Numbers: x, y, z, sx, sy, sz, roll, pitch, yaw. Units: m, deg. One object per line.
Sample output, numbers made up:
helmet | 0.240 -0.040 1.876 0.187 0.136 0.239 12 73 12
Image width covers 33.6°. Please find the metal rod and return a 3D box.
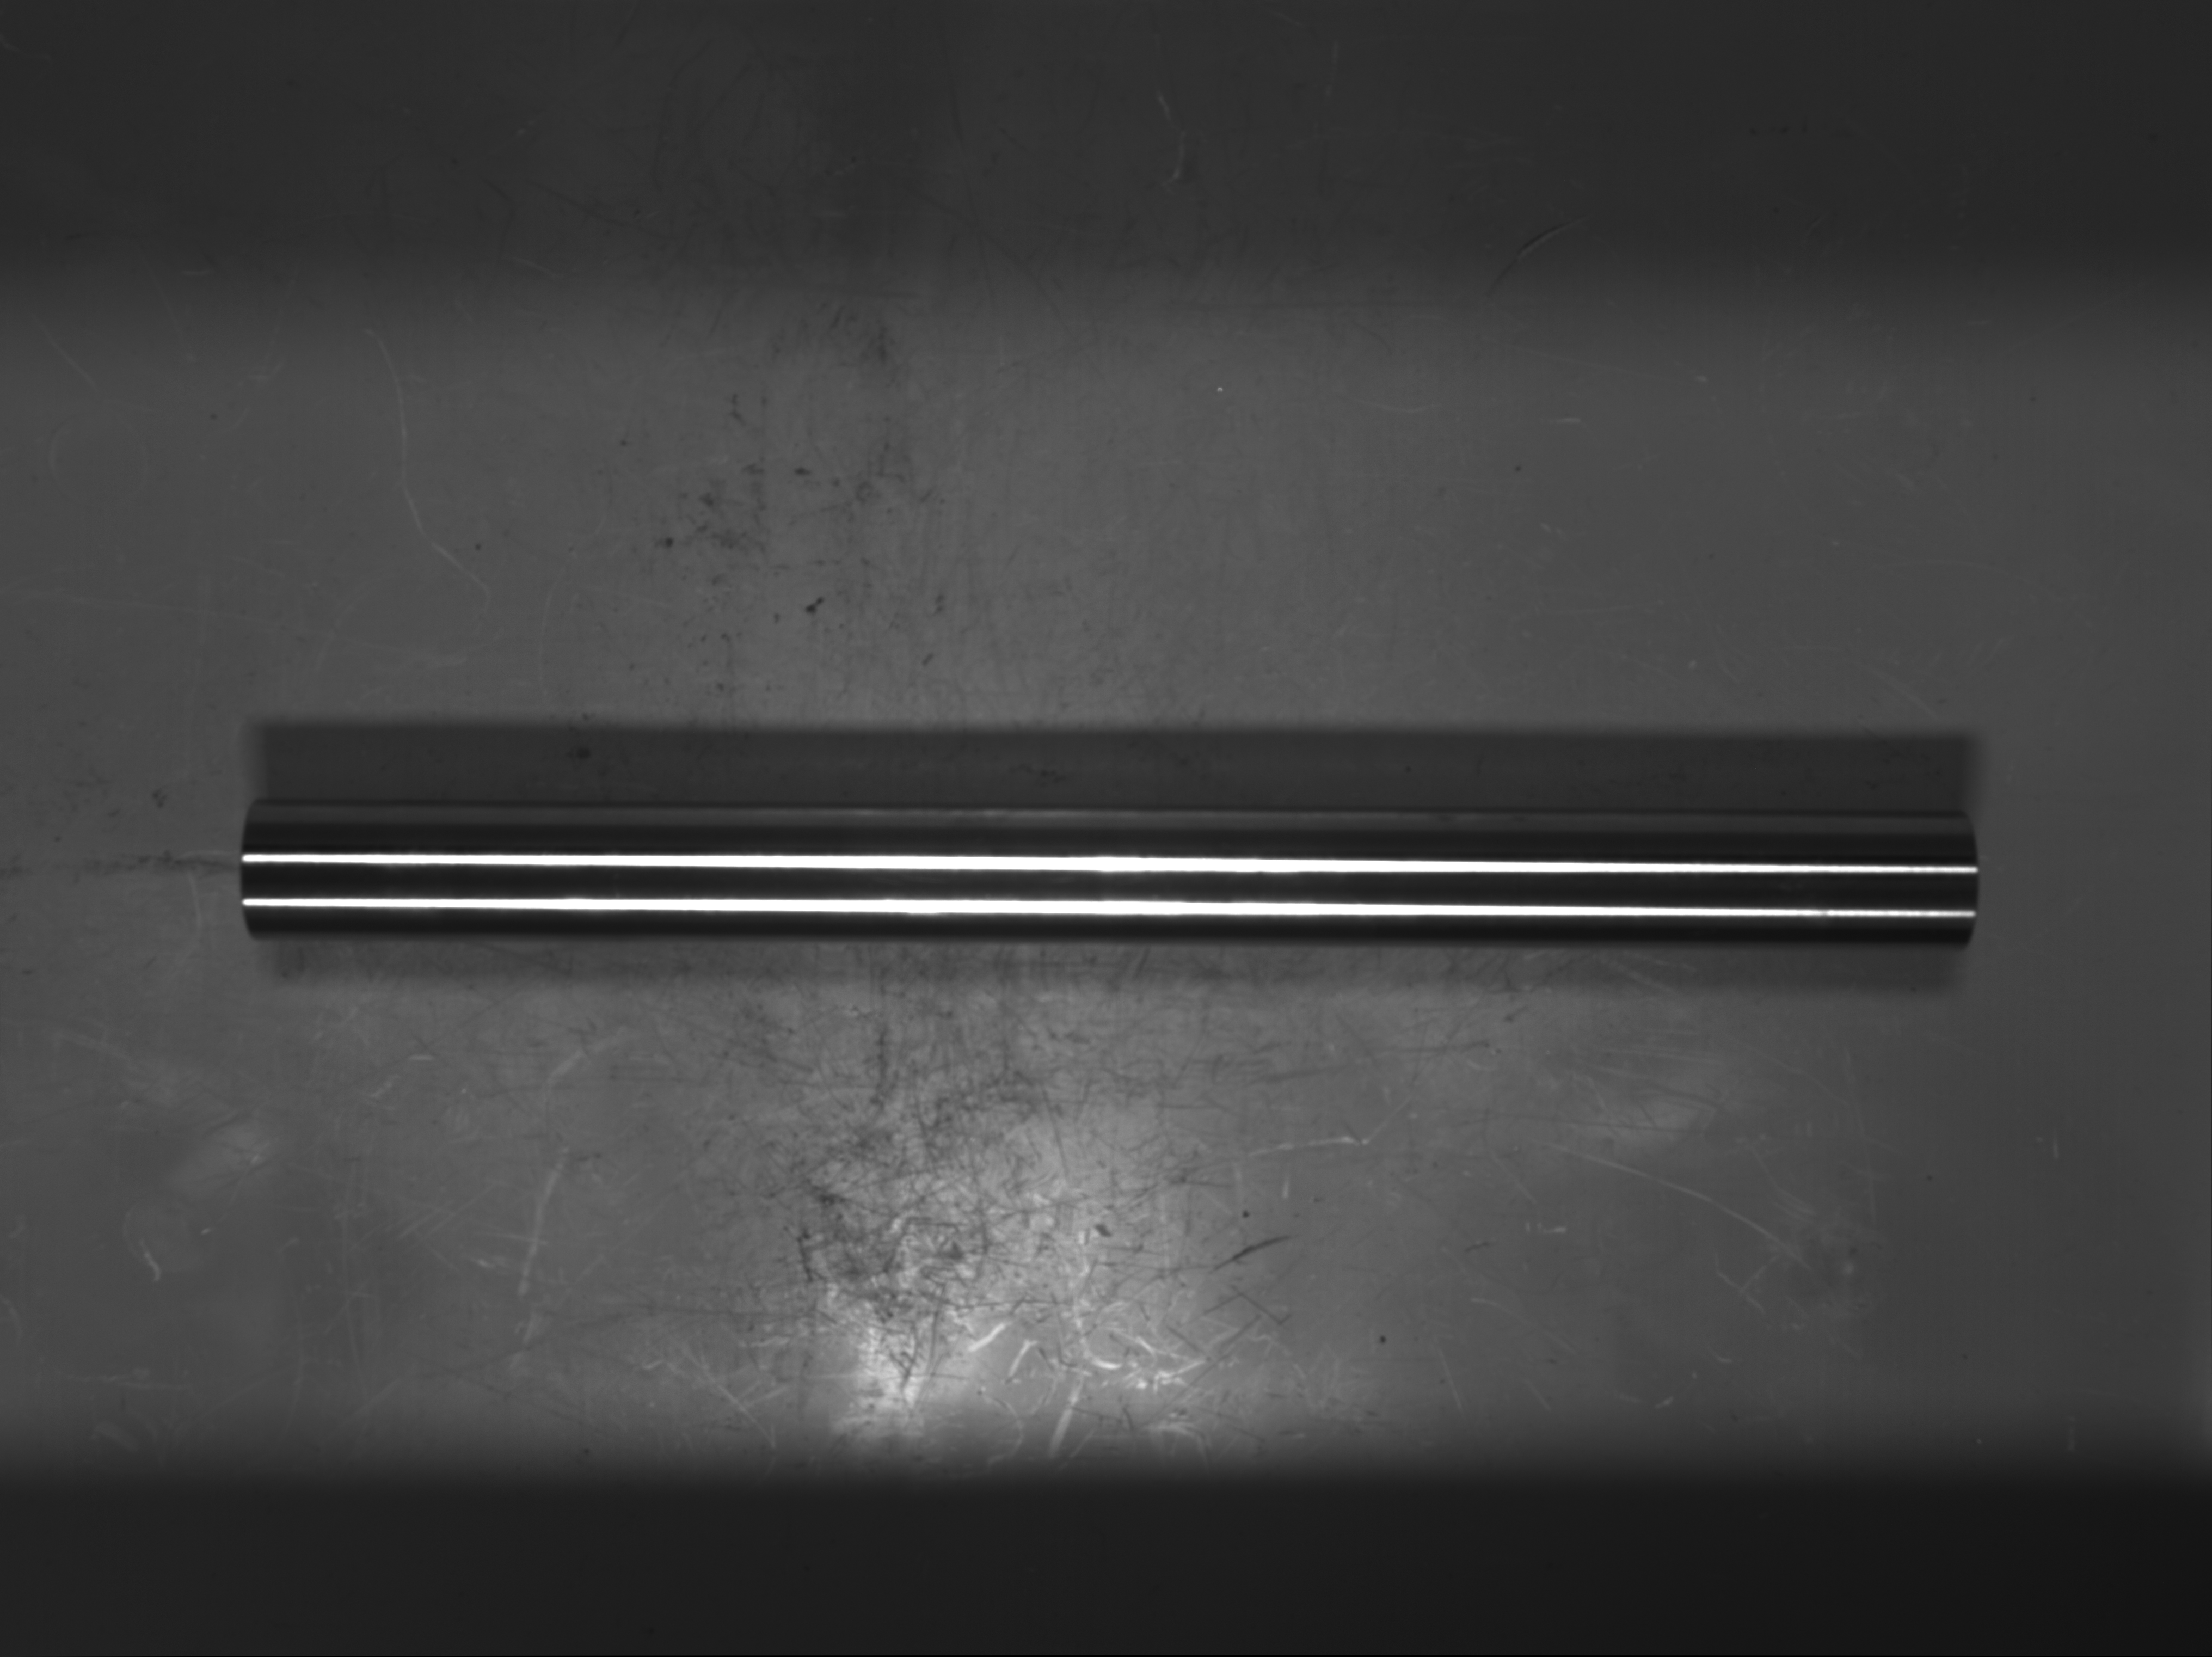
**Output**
metal rod | 0.000 0.008 0.644 0.300 0.025 0.025 0 110 -1
